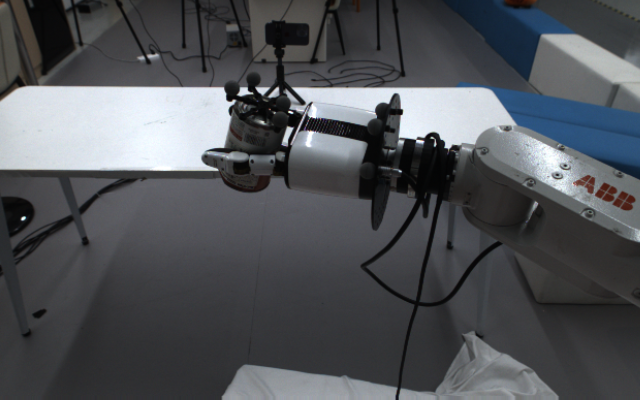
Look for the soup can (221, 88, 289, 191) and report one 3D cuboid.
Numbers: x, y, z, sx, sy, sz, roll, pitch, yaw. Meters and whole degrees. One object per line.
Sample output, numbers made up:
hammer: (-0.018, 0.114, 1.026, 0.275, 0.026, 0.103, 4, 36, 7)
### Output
soup can: (-0.081, -0.068, 0.593, 0.067, 0.101, 0.067, 14, 40, -12)
